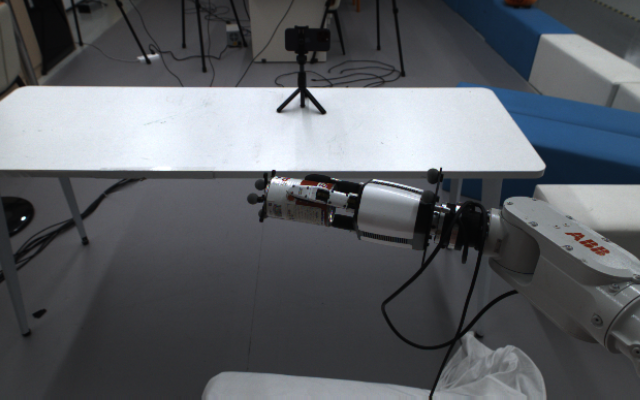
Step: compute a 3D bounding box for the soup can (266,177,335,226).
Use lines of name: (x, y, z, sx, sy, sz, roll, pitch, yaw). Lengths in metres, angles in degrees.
soup can: (-0.027, 0.001, 0.753, 0.101, 0.067, 0.067, 8, 35, 11)
